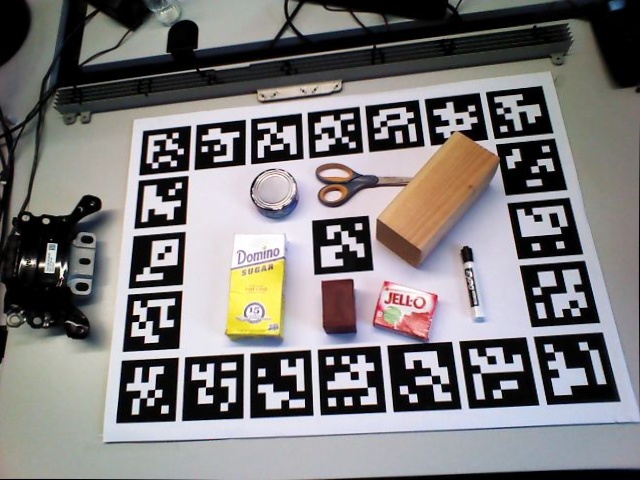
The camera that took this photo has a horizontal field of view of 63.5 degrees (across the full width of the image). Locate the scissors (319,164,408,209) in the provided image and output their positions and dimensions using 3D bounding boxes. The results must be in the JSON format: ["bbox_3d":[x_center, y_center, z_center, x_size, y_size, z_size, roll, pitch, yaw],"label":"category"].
[{"bbox_3d":[0.095,-0.096,0.929,0.203,0.016,0.087,3,71,11],"label":"scissors"}]

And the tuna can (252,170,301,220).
[{"bbox_3d":[-0.078,-0.080,0.936,0.086,0.034,0.085,-3,71,7],"label":"tuna can"}]

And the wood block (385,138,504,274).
[{"bbox_3d":[0.209,-0.056,0.862,0.090,0.091,0.206,40,79,19],"label":"wood block"}]

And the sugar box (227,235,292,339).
[{"bbox_3d":[-0.101,0.079,0.881,0.093,0.045,0.175,1,71,8],"label":"sugar box"}]

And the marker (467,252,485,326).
[{"bbox_3d":[0.253,0.079,0.840,0.020,0.019,0.120,-2,72,7],"label":"marker"}]

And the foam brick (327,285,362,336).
[{"bbox_3d":[0.040,0.116,0.838,0.053,0.051,0.077,-2,71,8],"label":"foam brick"}]

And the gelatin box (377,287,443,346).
[{"bbox_3d":[0.145,0.122,0.836,0.090,0.030,0.073,14,74,13],"label":"gelatin box"}]
